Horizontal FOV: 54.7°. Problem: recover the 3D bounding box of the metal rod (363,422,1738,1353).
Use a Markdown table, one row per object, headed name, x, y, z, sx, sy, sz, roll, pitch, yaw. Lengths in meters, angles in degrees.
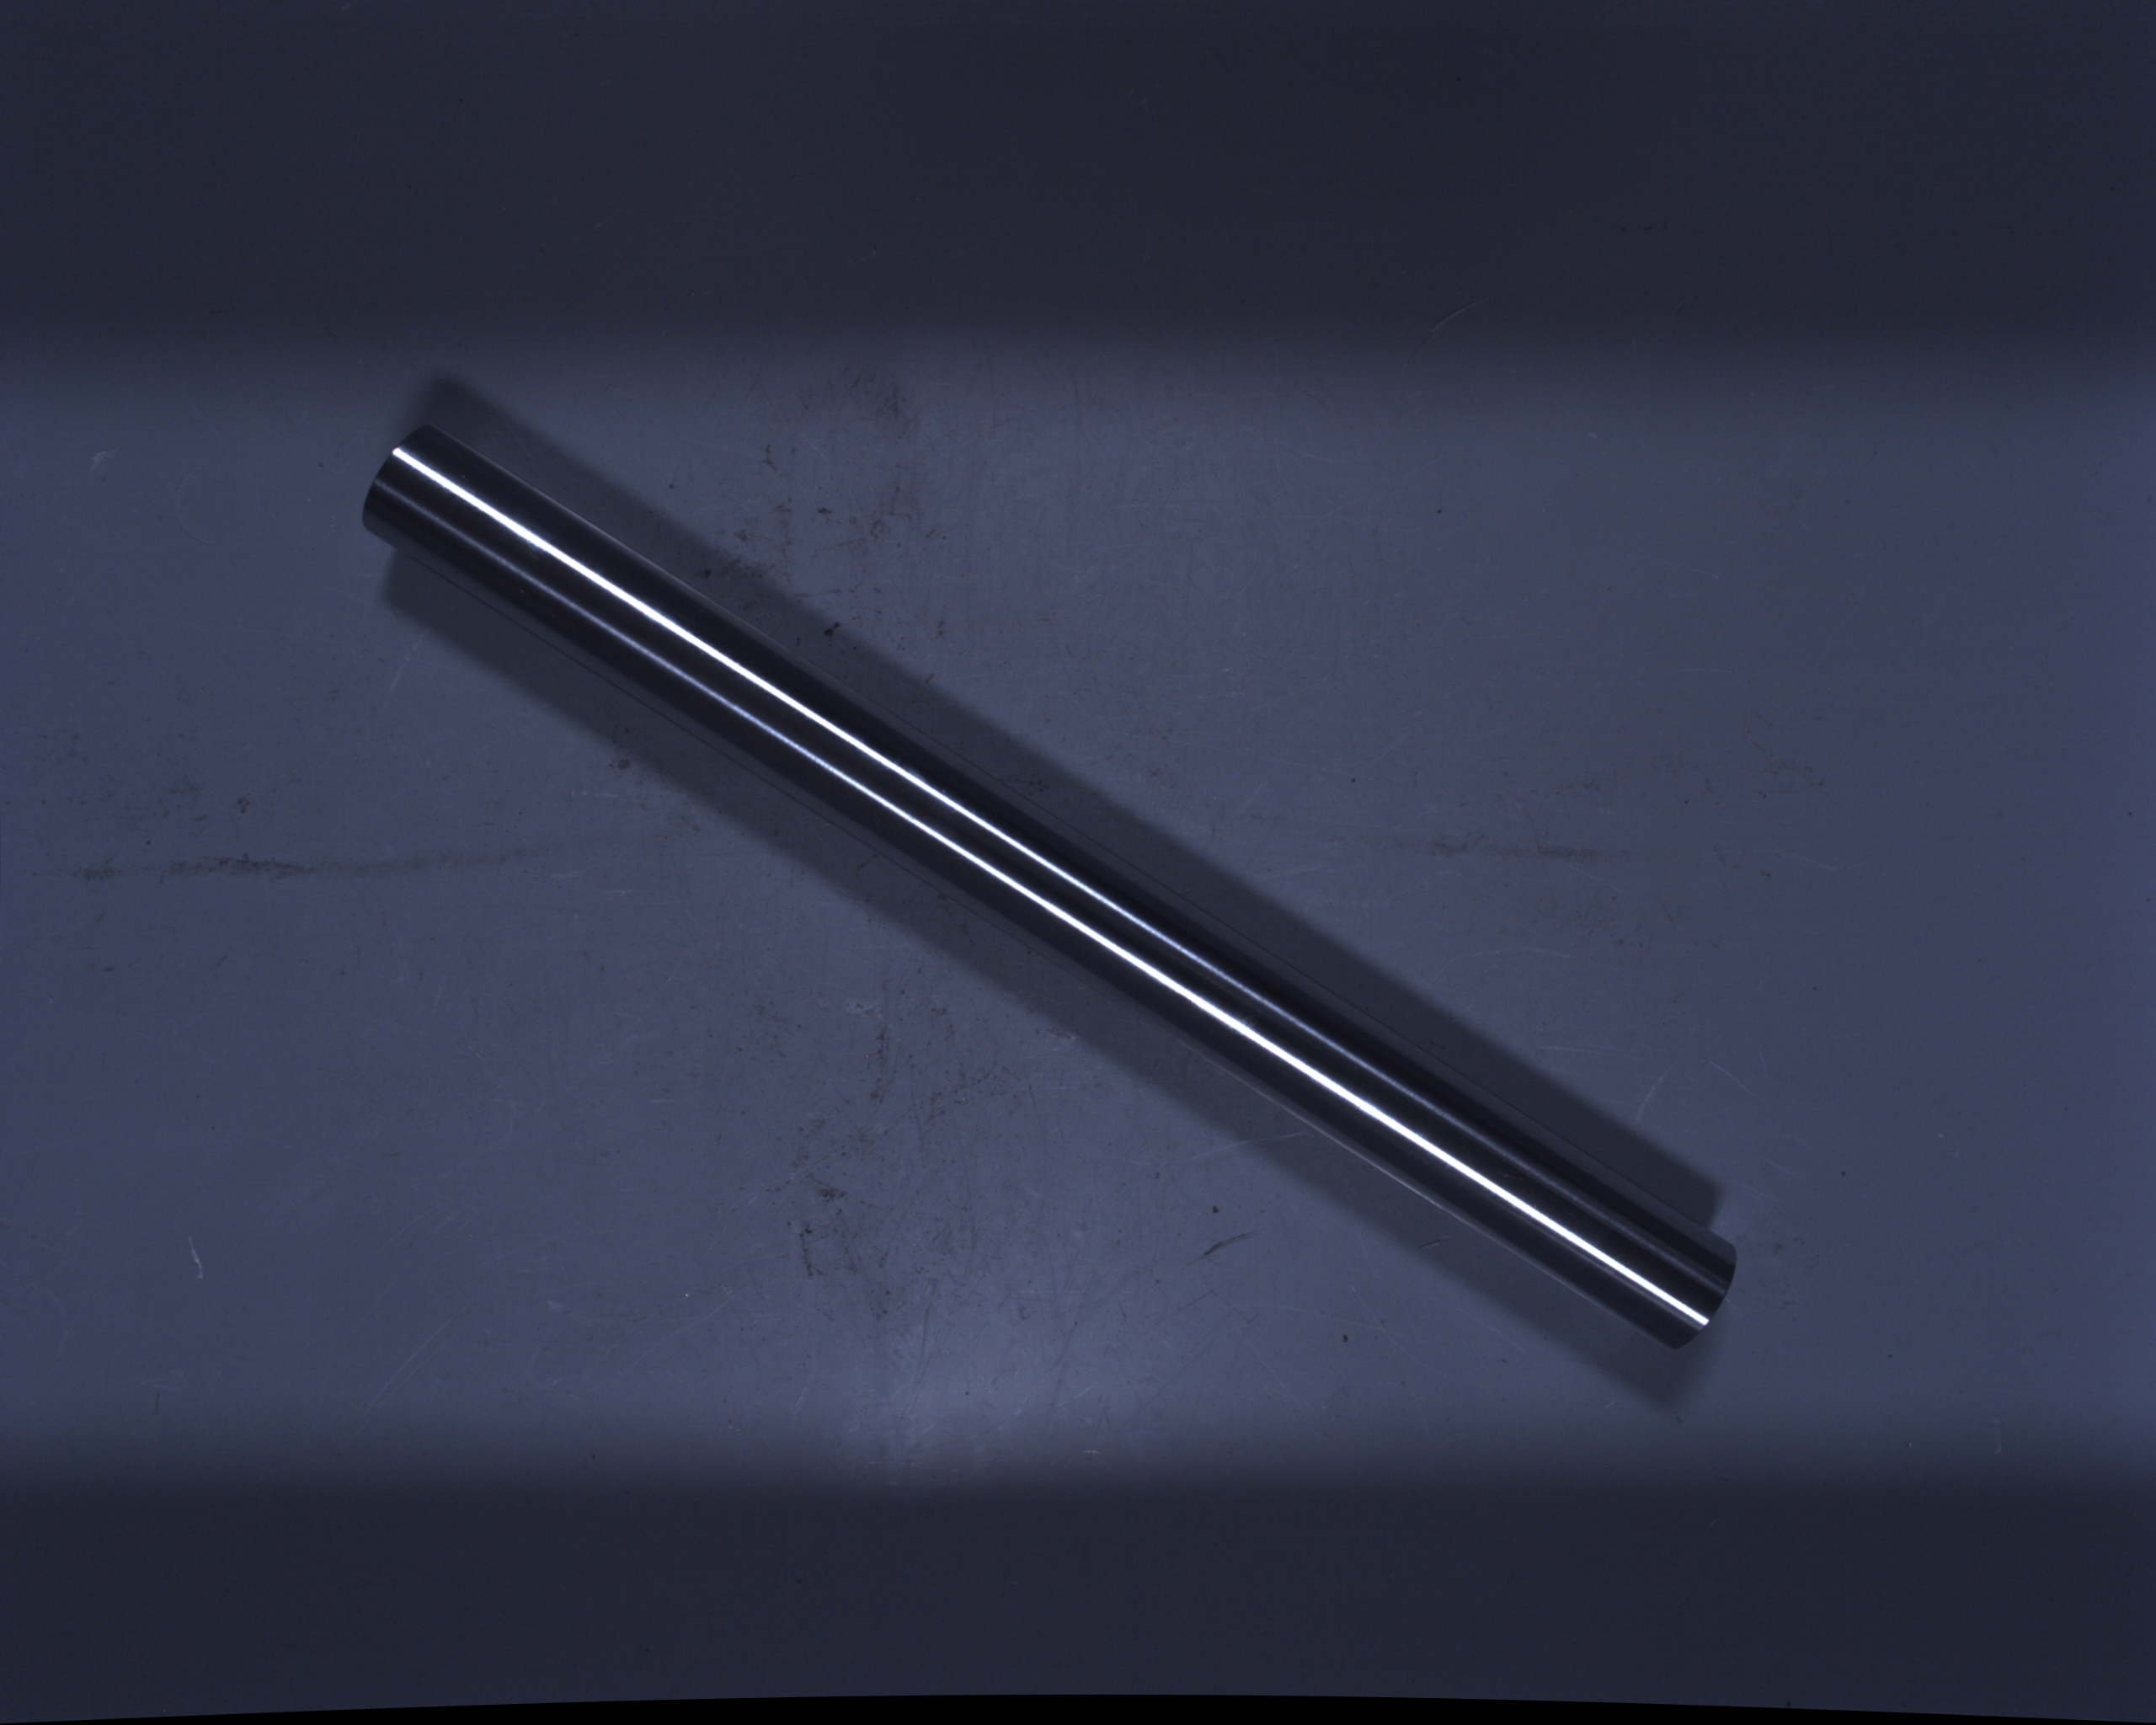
| name | x | y | z | sx | sy | sz | roll | pitch | yaw |
| --- | --- | --- | --- | --- | --- | --- | --- | --- | --- |
| metal rod | -0.005 | 0.005 | 0.409 | 0.301 | 0.025 | 0.025 | 32 | 90 | -1 |
